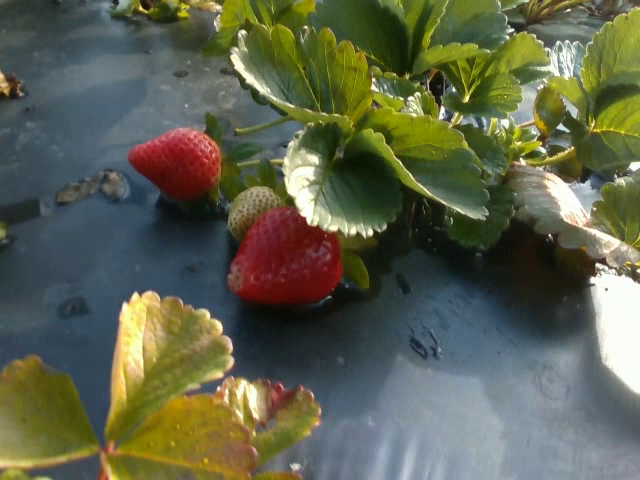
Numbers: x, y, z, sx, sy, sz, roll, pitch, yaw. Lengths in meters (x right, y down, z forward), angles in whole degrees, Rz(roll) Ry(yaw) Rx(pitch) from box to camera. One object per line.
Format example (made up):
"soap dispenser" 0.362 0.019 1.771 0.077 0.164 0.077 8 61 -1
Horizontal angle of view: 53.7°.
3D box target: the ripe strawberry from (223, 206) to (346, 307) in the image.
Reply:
"ripe strawberry" -0.020 0.009 0.278 0.064 0.050 0.048 -41 15 -33
